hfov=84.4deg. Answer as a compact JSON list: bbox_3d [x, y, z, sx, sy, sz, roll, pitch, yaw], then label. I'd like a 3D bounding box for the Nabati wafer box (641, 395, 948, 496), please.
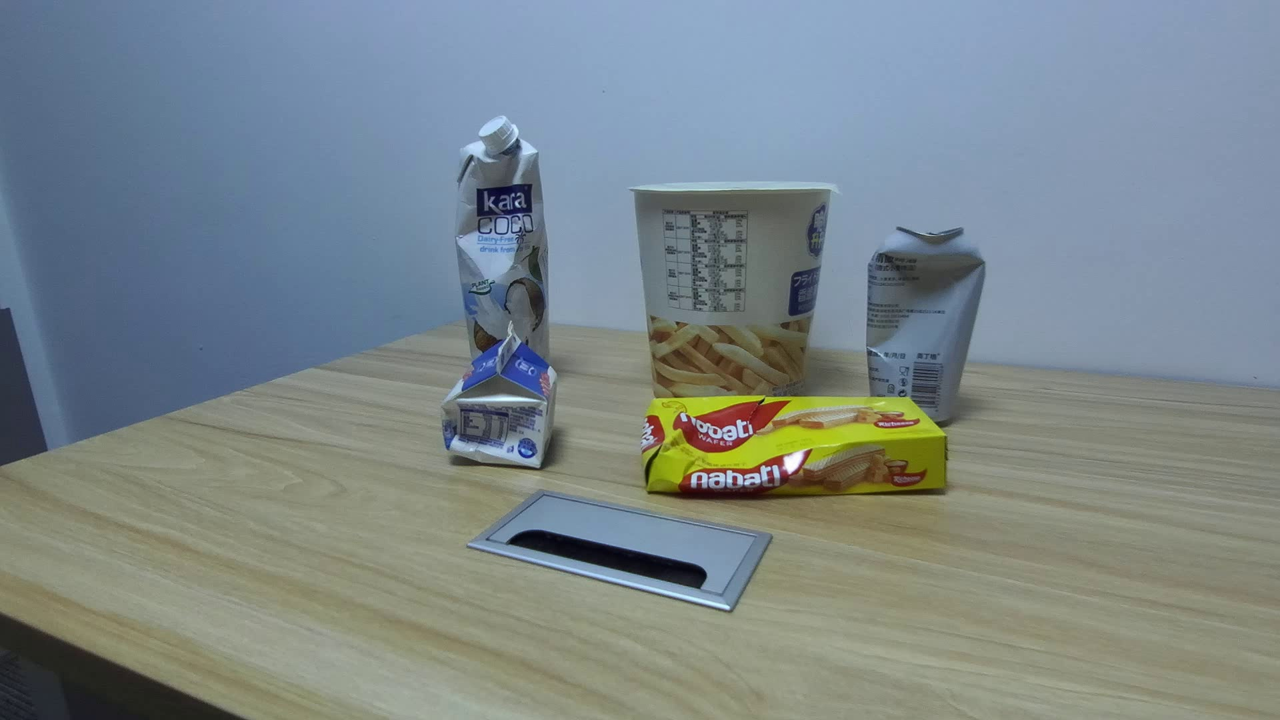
[{"bbox_3d":[0.102,0.060,0.504,0.204,0.042,0.107,0,14,4],"label":"Nabati wafer box"}]

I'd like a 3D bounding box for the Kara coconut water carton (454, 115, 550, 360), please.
[{"bbox_3d":[-0.130,-0.098,0.677,0.083,0.255,0.078,0,18,1],"label":"Kara coconut water carton"}]

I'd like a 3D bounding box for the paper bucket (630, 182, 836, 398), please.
[{"bbox_3d":[0.085,-0.063,0.660,0.198,0.194,0.198,-1,16,0],"label":"paper bucket"}]

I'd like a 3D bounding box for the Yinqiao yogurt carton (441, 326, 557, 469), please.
[{"bbox_3d":[-0.105,0.025,0.536,0.080,0.097,0.074,5,18,-2],"label":"Yinqiao yogurt carton"}]
